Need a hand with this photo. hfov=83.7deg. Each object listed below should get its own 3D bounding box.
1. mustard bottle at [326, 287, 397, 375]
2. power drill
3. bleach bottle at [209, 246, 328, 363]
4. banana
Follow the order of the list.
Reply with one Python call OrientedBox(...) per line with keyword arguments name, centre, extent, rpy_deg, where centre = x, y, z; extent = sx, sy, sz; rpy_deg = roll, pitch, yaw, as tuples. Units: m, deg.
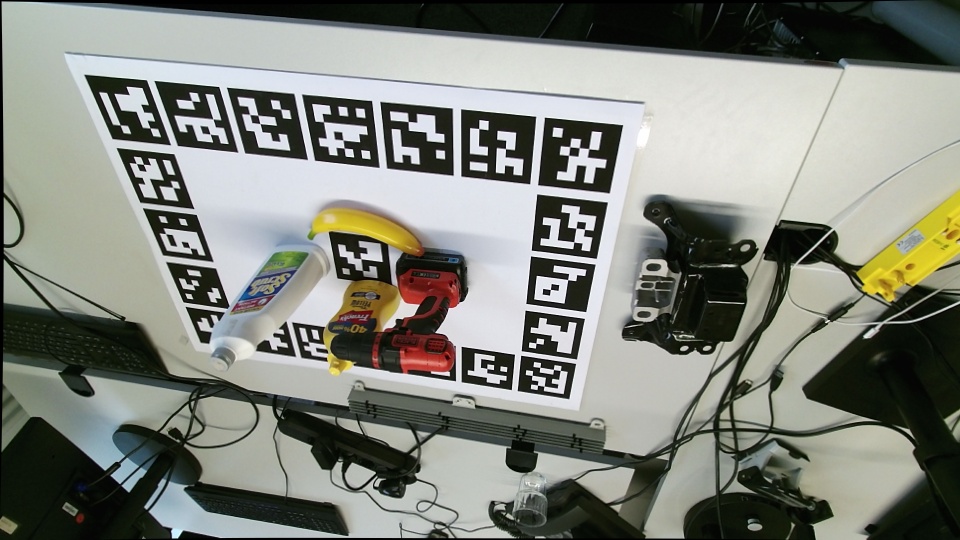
OrientedBox(name="mustard bottle", centre=(-0.211, 0.105, 0.886), extent=(0.096, 0.191, 0.058), rpy_deg=(9, 126, 8))
OrientedBox(name="power drill", centre=(-0.112, 0.080, 0.824), extent=(0.185, 0.186, 0.057), rpy_deg=(7, 133, 11))
OrientedBox(name="bleach bottle", centre=(-0.341, 0.052, 0.851), extent=(0.103, 0.250, 0.068), rpy_deg=(1, 124, 12))
OrientedBox(name="banana", centre=(-0.197, -0.053, 0.863), extent=(0.198, 0.039, 0.074), rpy_deg=(9, 122, 3))
